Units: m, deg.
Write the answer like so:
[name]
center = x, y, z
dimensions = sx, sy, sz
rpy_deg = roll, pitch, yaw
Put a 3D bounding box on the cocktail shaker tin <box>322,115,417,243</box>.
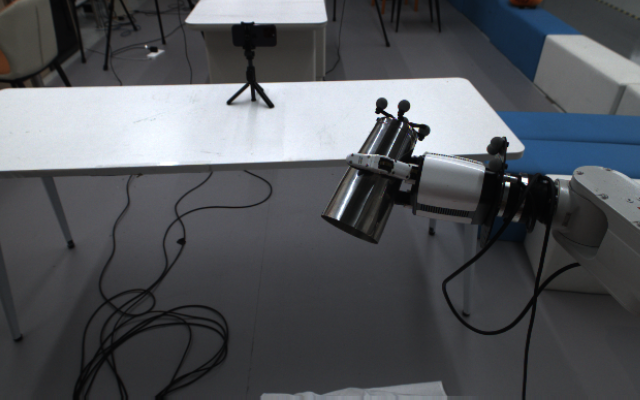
[cocktail shaker tin]
center = 0.081, -0.035, 0.709
dimensions = 0.093, 0.093, 0.170
rpy_deg = 21, 81, 25
